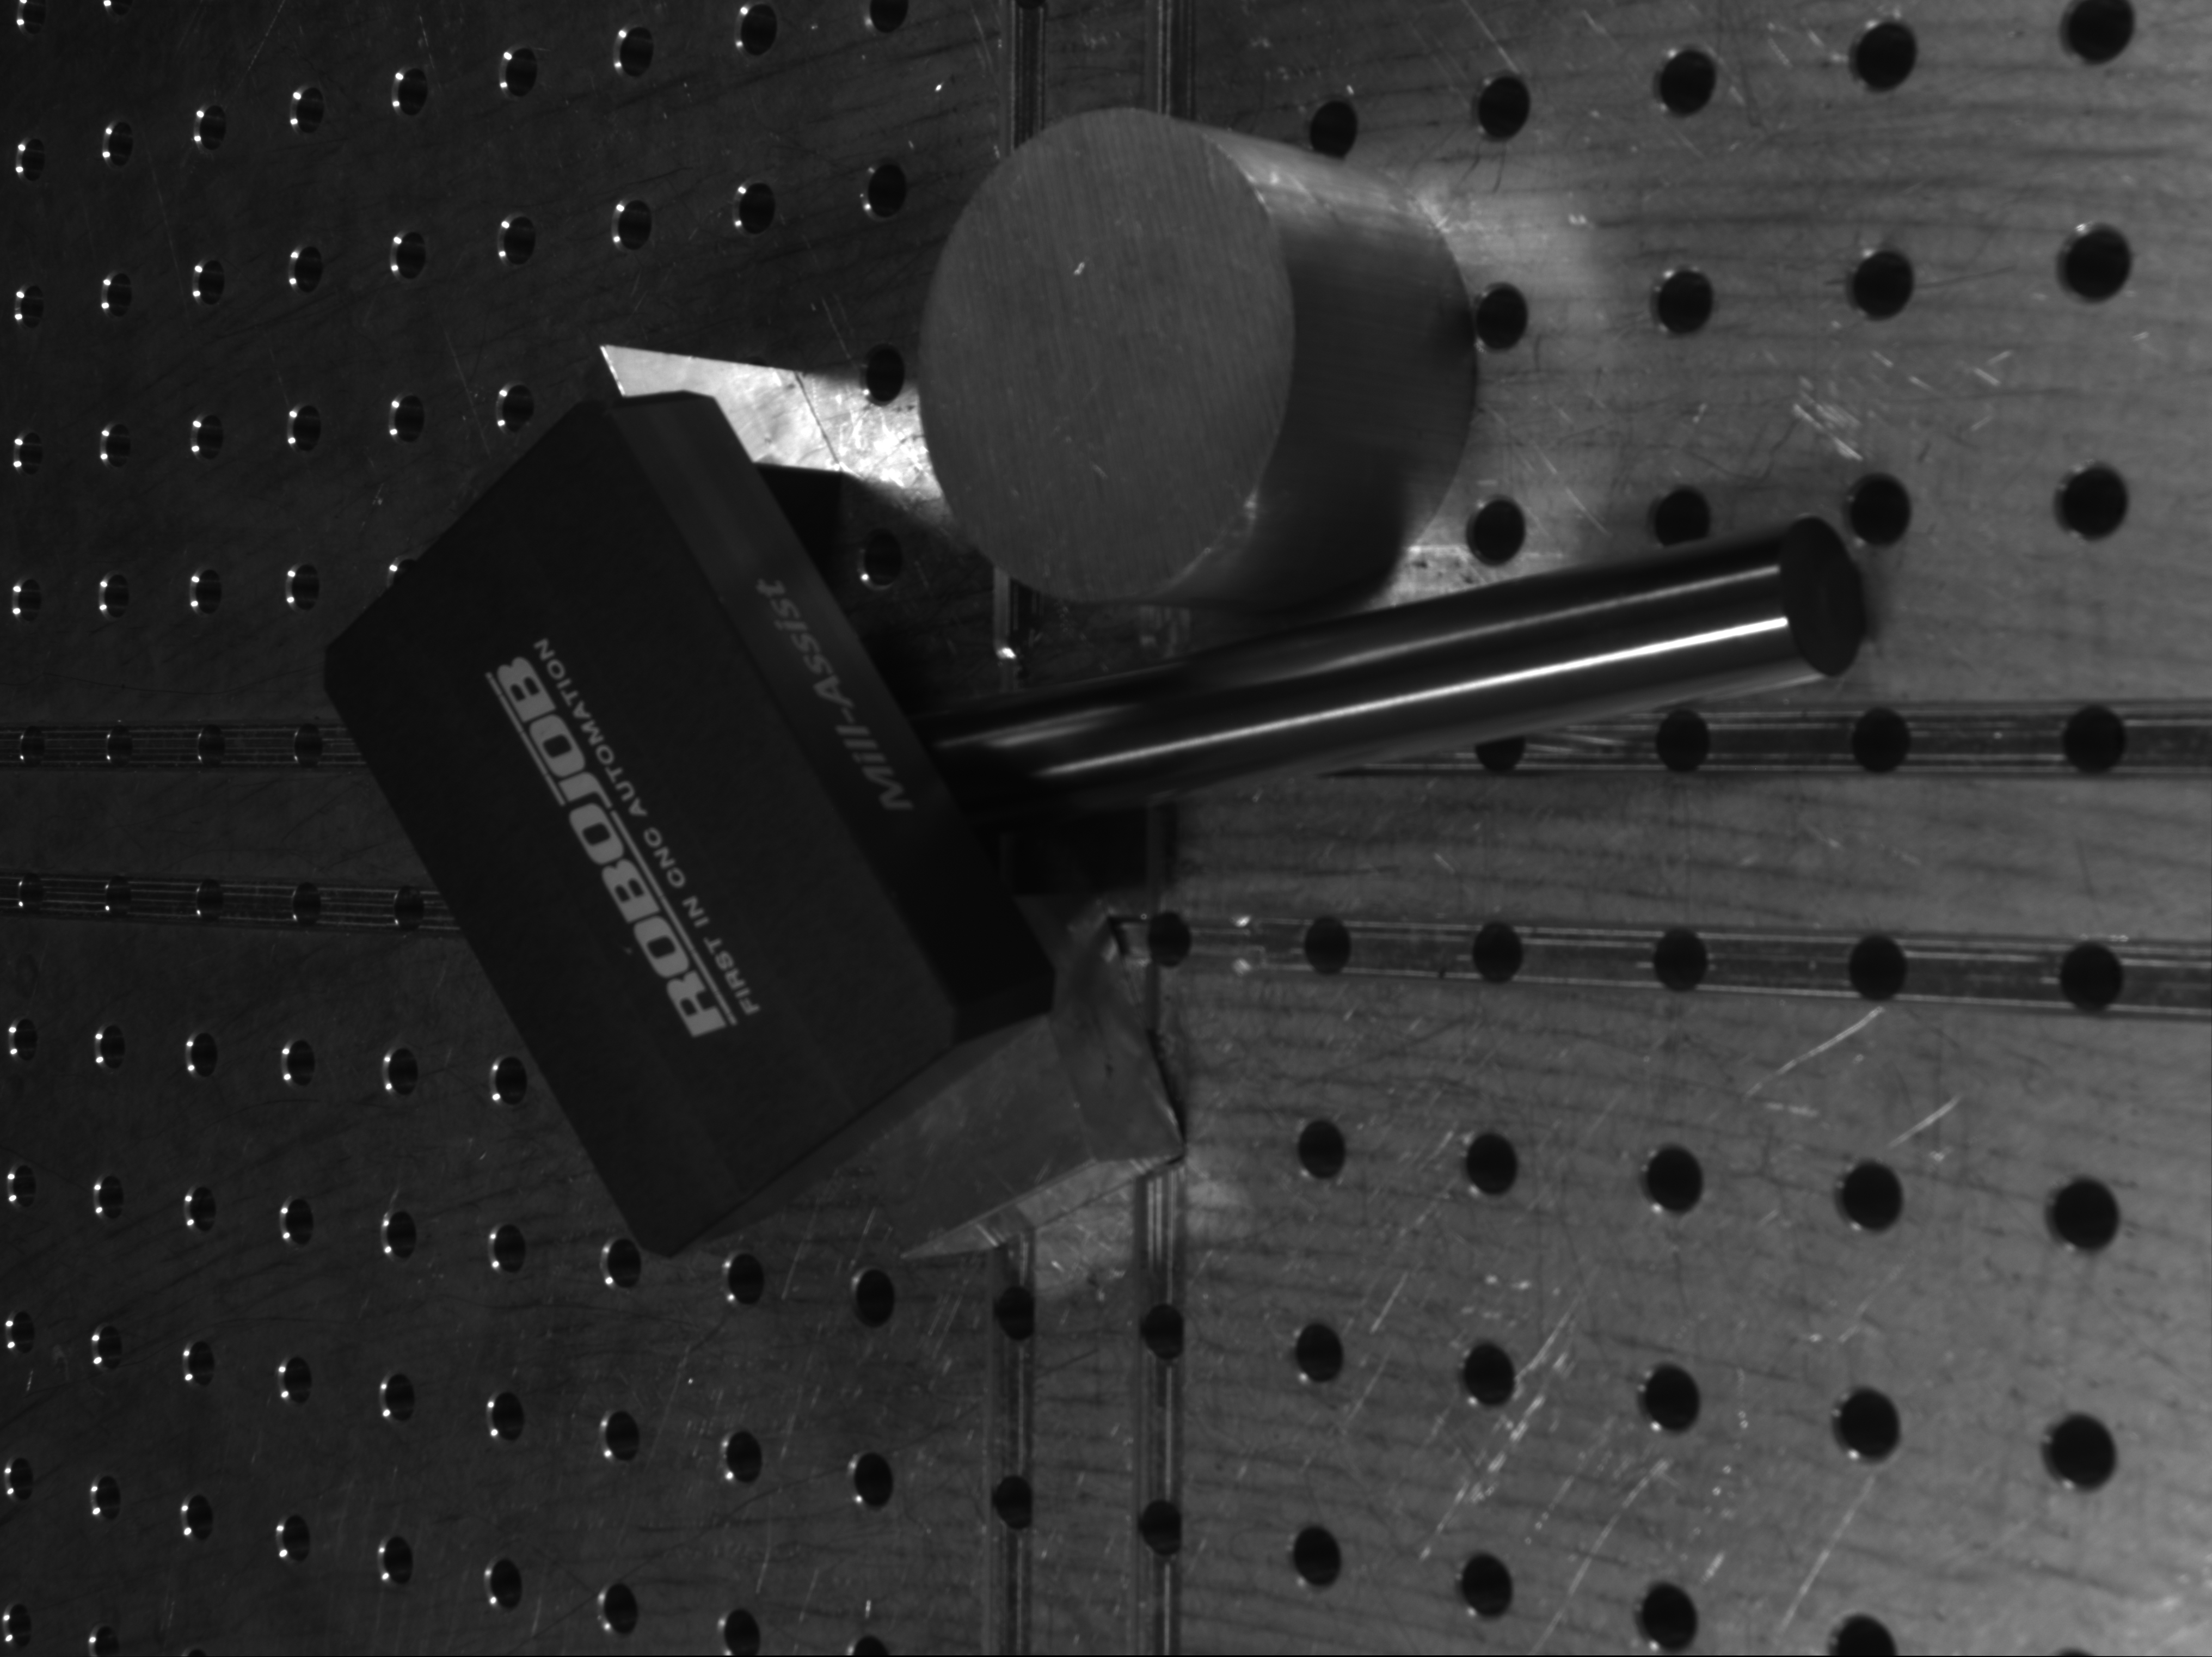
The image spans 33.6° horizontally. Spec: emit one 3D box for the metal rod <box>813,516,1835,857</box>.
[{"bbox_3d":[-0.010,-0.014,0.648,0.299,0.025,0.025,-10,83,39],"label":"metal rod"}]

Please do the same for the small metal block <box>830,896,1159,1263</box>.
[{"bbox_3d":[-0.024,0.045,0.657,0.050,0.025,0.050,-29,72,35],"label":"small metal block"}]

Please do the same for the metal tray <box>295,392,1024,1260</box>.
[{"bbox_3d":[-0.082,-0.001,0.653,0.090,0.030,0.130,-37,78,33],"label":"metal tray"}]

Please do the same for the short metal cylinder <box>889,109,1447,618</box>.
[{"bbox_3d":[0.010,-0.077,0.615,0.080,0.050,0.080,0,90,39],"label":"short metal cylinder"}]

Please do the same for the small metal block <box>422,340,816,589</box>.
[{"bbox_3d":[-0.093,-0.065,0.699,0.050,0.050,0.025,-39,66,32],"label":"small metal block"}]
